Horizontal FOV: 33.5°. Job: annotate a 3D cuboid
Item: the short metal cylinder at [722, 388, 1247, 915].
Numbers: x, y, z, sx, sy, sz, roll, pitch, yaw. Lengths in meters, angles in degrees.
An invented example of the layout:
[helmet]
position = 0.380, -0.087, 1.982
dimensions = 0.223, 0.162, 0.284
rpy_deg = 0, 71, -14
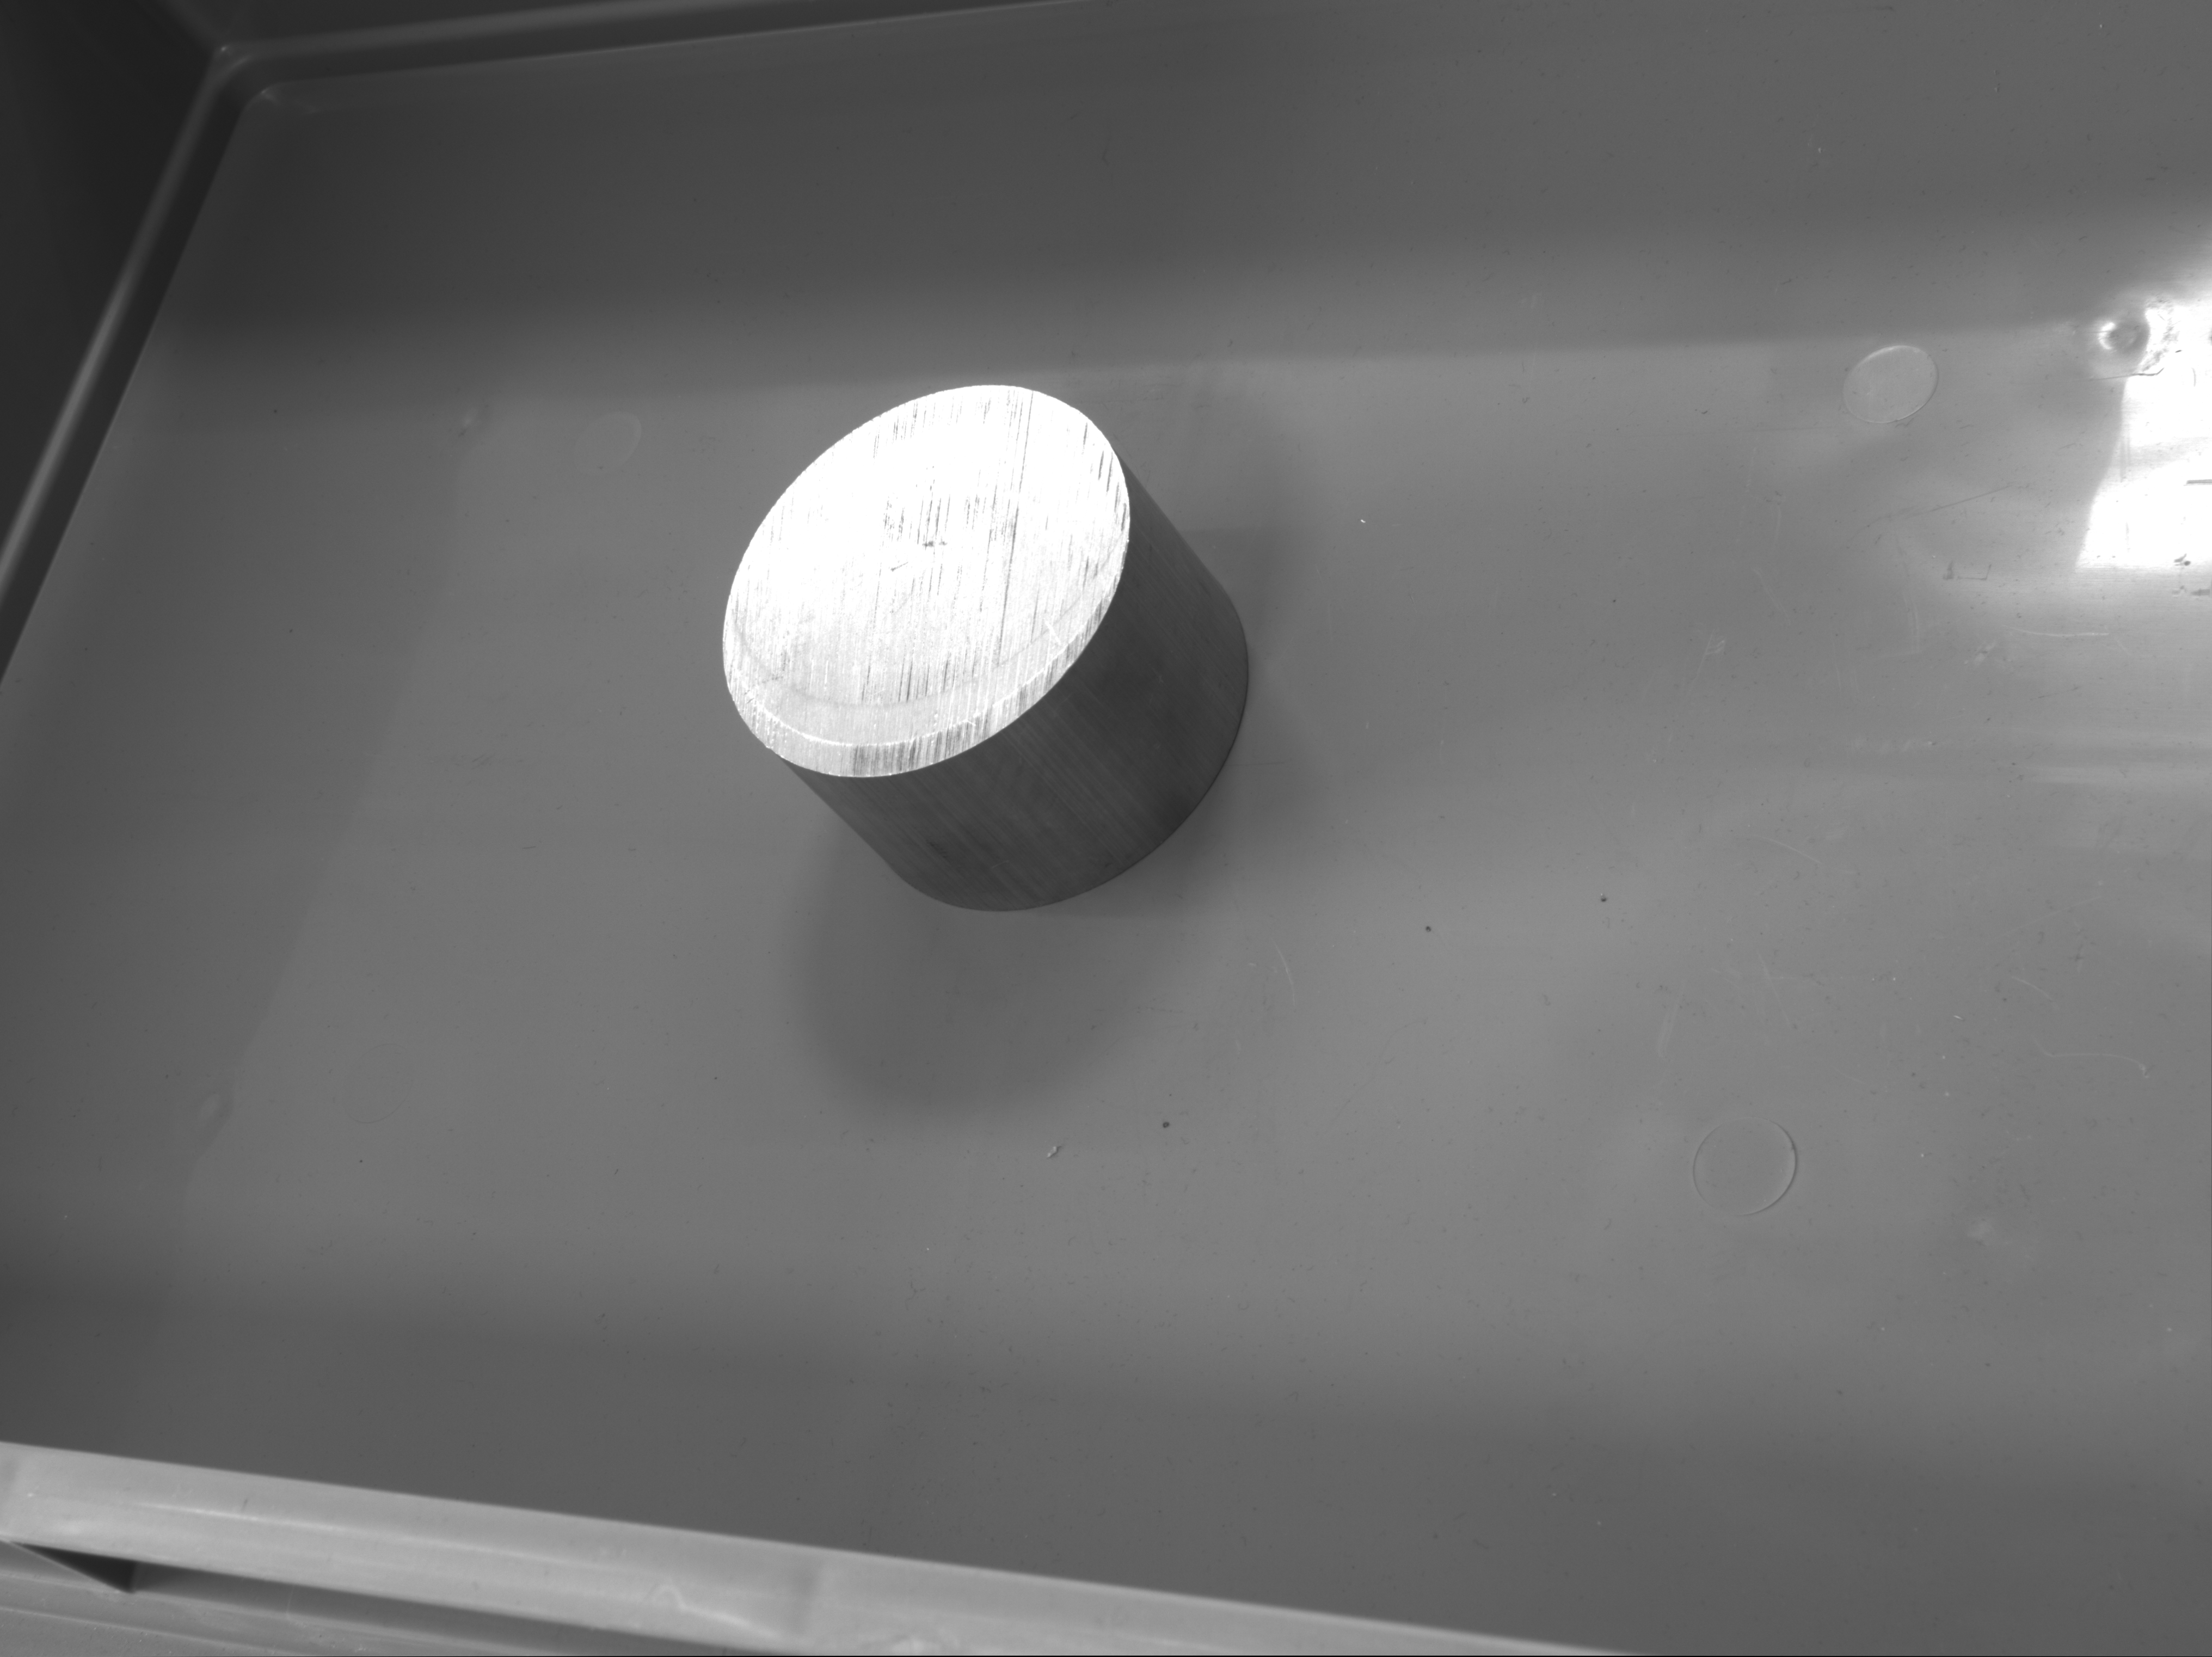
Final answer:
[short metal cylinder]
position = -0.021, -0.031, 0.658
dimensions = 0.080, 0.050, 0.080
rpy_deg = -14, 56, 21
